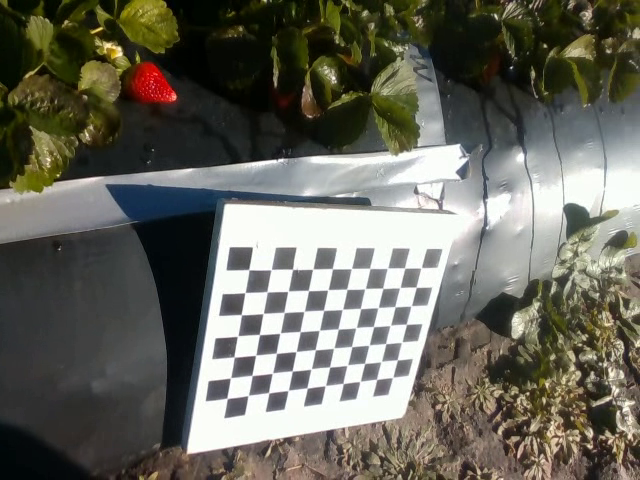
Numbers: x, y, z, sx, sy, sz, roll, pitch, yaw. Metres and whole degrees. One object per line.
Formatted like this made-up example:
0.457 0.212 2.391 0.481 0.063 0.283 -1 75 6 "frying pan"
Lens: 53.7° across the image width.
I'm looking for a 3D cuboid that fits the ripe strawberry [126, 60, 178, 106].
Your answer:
-0.161 -0.147 0.599 0.058 0.046 0.042 33 1 -17 "ripe strawberry"
